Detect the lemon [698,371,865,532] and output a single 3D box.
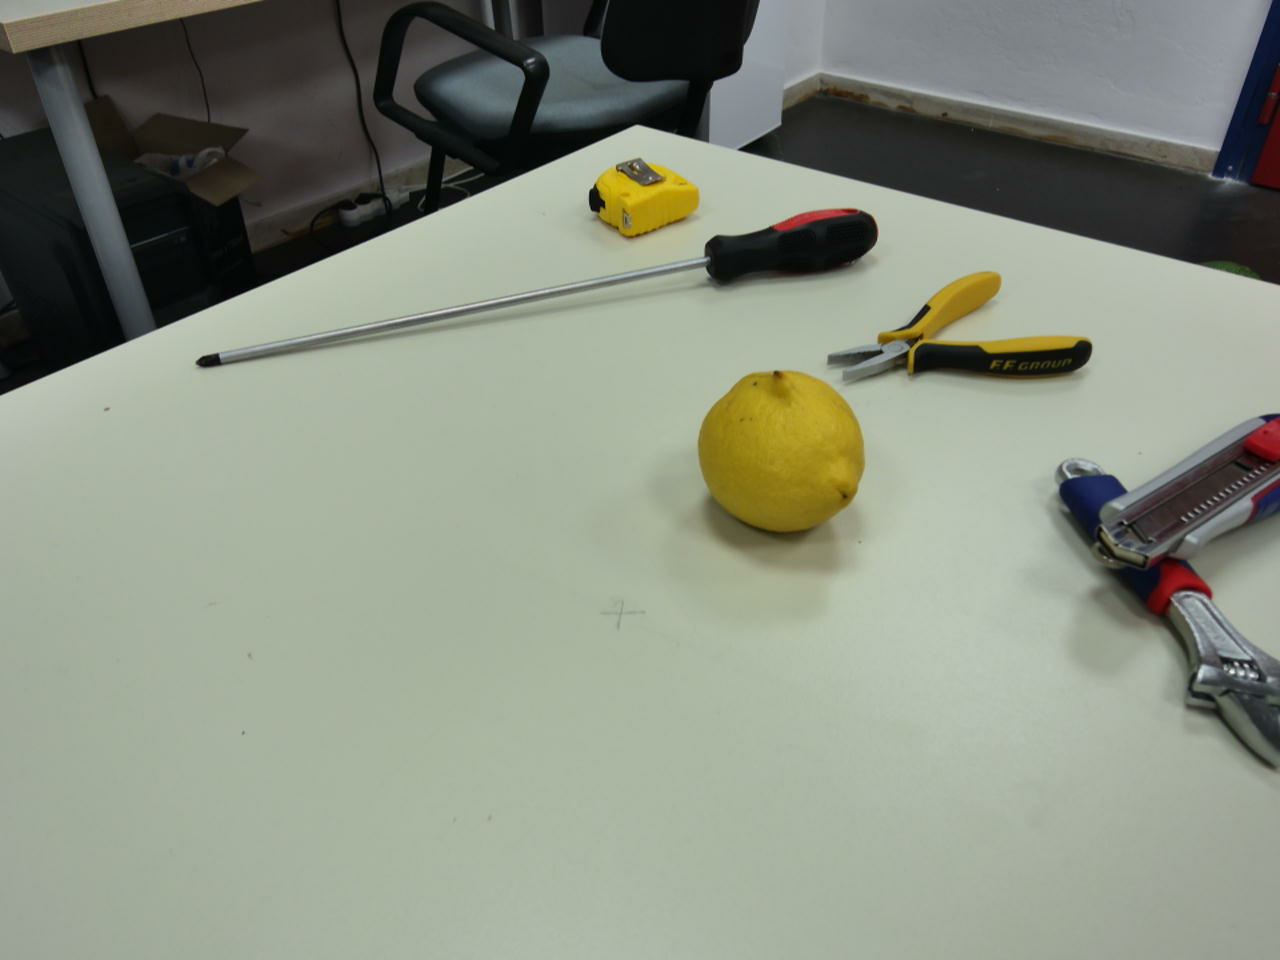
[{"bbox_3d":[0.060,-0.015,0.426,0.070,0.071,0.071,4,36,5],"label":"lemon"}]
